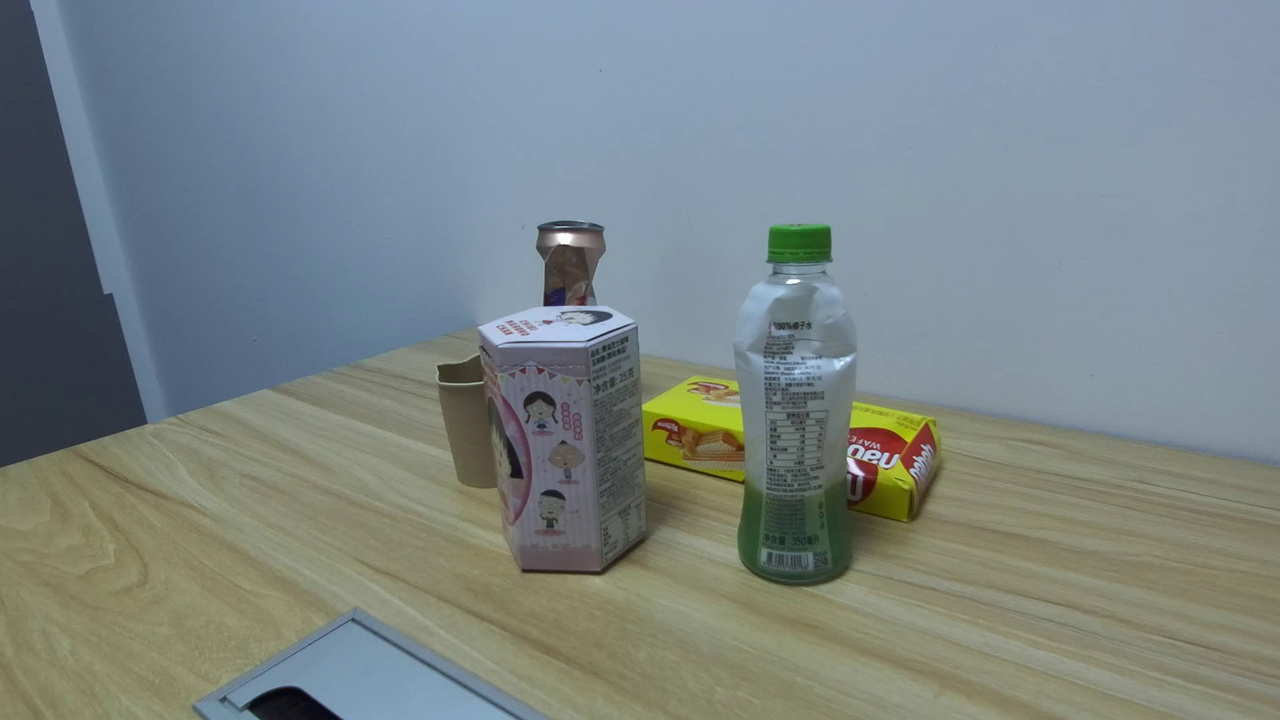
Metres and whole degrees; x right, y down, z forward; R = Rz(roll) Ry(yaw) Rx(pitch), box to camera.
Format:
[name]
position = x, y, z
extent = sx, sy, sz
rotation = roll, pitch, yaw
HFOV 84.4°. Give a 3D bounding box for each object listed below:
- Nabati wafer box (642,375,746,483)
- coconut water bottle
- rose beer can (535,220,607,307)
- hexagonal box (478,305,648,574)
[Nabati wafer box]
position = 0.106, 0.056, 0.514
extent = 0.202, 0.042, 0.097
rotation = 10, 19, 32
[coconut water bottle]
position = 0.084, 0.023, 0.375
extent = 0.067, 0.187, 0.067
rotation = -3, 16, 1
[rose beer can]
position = -0.054, -0.033, 0.603
extent = 0.065, 0.167, 0.076
rotation = 4, 14, 11
[hexagonal box]
position = -0.043, 0.044, 0.410
extent = 0.084, 0.136, 0.091
rotation = -9, 19, -22
